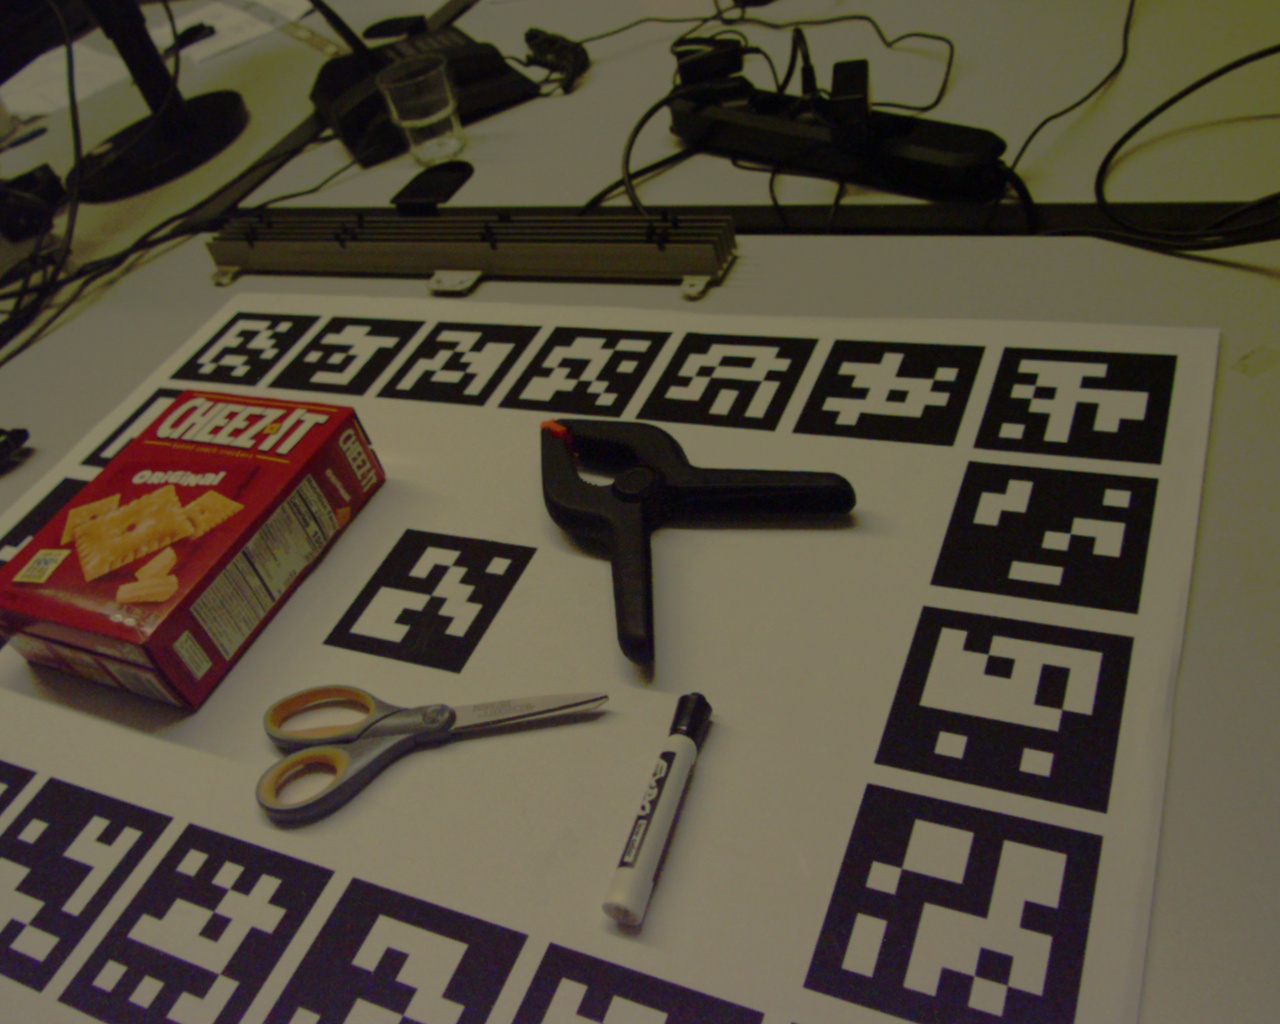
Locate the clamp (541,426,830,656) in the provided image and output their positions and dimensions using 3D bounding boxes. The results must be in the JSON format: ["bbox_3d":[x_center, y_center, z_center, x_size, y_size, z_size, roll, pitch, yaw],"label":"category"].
[{"bbox_3d":[-0.003,-0.006,0.744,0.164,0.036,0.205,-34,43,-19],"label":"clamp"}]

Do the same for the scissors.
[{"bbox_3d":[-0.120,0.114,0.647,0.203,0.016,0.088,-12,40,4],"label":"scissors"}]

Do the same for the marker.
[{"bbox_3d":[0.006,0.131,0.579,0.020,0.019,0.121,3,45,24],"label":"marker"}]

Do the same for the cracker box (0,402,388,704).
[{"bbox_3d":[-0.304,0.016,0.786,0.166,0.071,0.213,7,47,27],"label":"cracker box"}]
